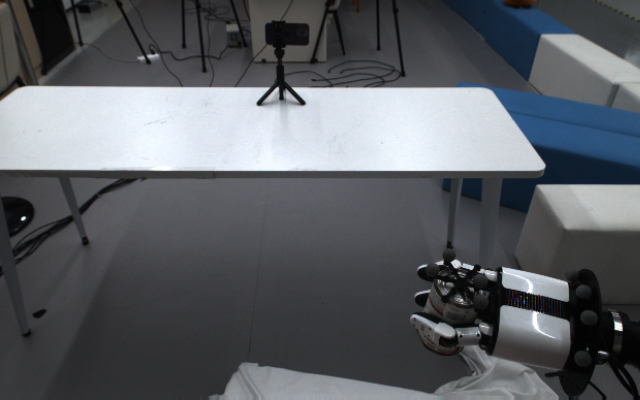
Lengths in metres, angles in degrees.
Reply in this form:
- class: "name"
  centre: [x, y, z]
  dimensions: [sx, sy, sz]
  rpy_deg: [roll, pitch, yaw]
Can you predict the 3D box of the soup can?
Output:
- class: "soup can"
  centre: [0.176, 0.149, 0.646]
  dimensions: [0.067, 0.101, 0.067]
  rpy_deg: [5, 36, -3]
